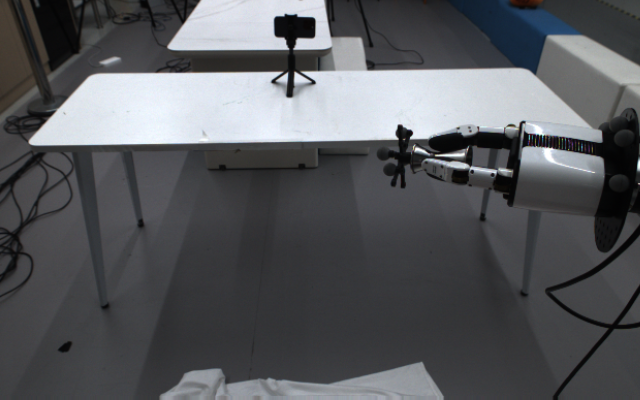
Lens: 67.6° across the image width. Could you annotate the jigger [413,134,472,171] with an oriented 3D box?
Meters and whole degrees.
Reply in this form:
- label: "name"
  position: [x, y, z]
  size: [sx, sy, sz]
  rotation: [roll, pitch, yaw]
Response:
- label: "jigger"
  position: [0.158, -0.055, 0.605]
  size: [0.071, 0.043, 0.043]
  rotation: [6, 33, 26]
